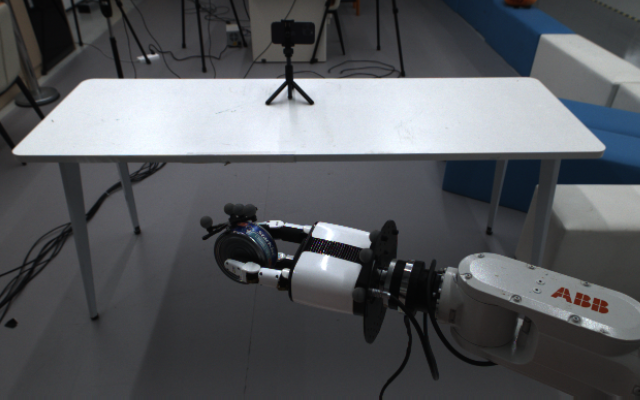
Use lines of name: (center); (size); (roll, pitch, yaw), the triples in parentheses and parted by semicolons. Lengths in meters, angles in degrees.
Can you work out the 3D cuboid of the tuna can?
tuna can: (-0.101, 0.080, 0.672); (0.085, 0.085, 0.034); (15, 29, 17)
